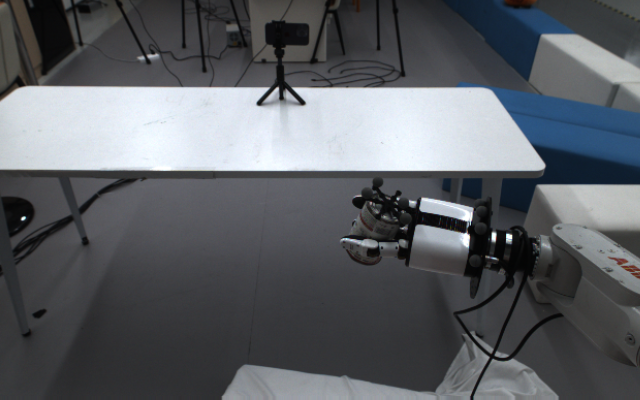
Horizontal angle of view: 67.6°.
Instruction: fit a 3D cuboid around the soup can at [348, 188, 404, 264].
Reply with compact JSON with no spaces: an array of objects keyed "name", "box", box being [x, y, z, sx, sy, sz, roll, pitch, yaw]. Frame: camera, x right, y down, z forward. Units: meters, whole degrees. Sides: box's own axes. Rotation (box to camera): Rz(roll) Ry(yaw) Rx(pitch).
[{"name":"soup can","box":[0.087,0.047,0.773,0.067,0.101,0.067,14,39,-12]}]
